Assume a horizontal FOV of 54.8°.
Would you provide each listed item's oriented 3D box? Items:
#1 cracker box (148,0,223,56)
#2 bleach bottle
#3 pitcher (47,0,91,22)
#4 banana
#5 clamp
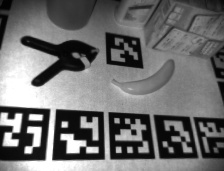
[{"bbox_3d":[0.227,-0.171,0.587,0.215,0.164,0.071,7,58,-13],"label":"cracker box"},{"bbox_3d":[0.084,-0.266,0.554,0.103,0.250,0.067,5,61,-15],"label":"bleach bottle"},{"bbox_3d":[-0.091,-0.259,0.467,0.191,0.242,0.132,-11,66,-26],"label":"pitcher"},{"bbox_3d":[0.101,-0.037,0.572,0.199,0.039,0.074,-28,74,-29],"label":"banana"},{"bbox_3d":[-0.110,-0.084,0.514,0.167,0.036,0.121,-9,65,-25],"label":"clamp"}]
